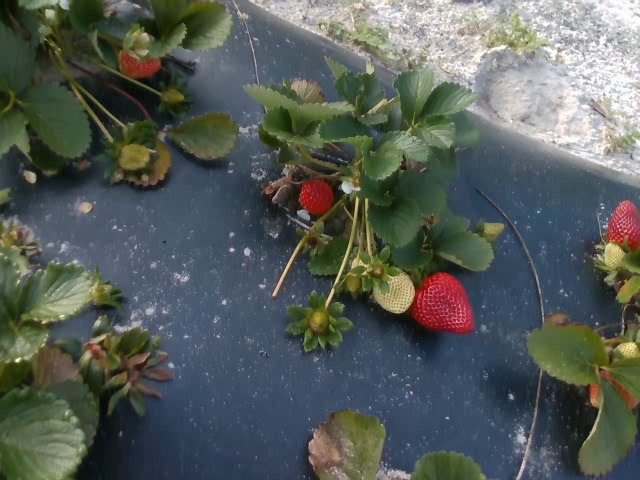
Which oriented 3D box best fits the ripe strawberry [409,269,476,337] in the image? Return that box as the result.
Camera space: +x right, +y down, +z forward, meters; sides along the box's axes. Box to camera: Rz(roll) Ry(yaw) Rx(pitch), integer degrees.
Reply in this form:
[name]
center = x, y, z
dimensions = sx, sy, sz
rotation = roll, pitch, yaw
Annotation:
[ripe strawberry]
center = 0.101, 0.058, 0.484
dimensions = 0.048, 0.051, 0.055
rotation = 42, 9, -39
